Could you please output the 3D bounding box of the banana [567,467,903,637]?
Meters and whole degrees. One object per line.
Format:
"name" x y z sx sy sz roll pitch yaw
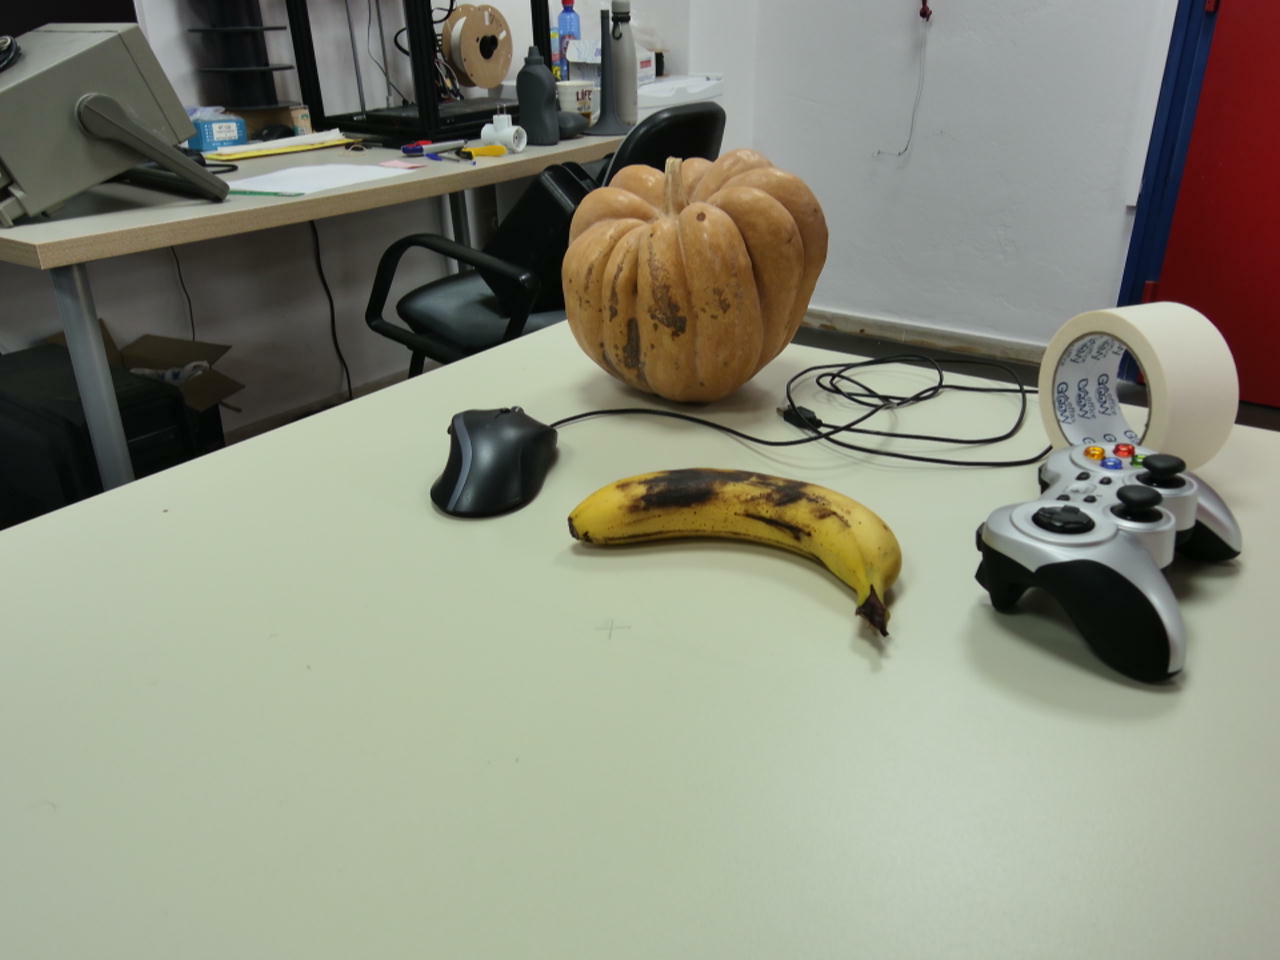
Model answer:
"banana" 0.059 0.026 0.532 0.187 0.039 0.094 16 29 32
